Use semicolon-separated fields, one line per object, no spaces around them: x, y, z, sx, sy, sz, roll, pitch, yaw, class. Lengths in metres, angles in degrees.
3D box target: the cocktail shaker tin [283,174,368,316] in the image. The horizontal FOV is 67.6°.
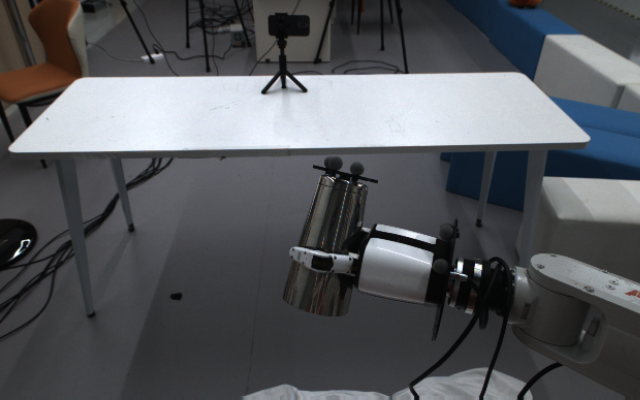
0.014;0.056;0.645;0.093;0.170;0.093;13;4;-1;cocktail shaker tin
